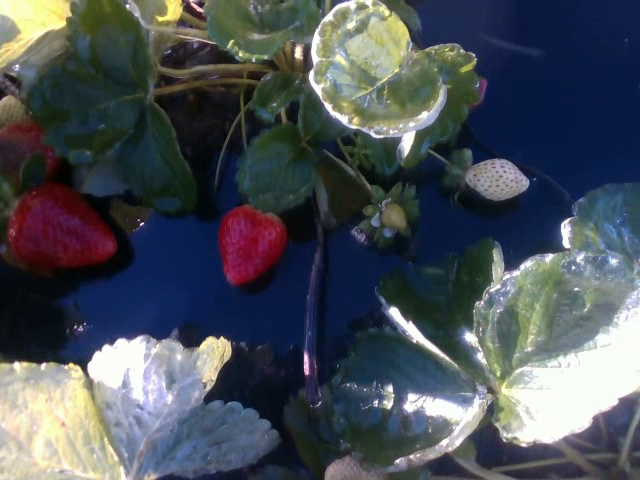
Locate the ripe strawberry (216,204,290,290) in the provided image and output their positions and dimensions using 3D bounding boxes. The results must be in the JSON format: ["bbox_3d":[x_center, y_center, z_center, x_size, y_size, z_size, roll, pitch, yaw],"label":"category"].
[{"bbox_3d":[-0.033,0.004,0.288,0.039,0.047,0.040,16,-13,-4],"label":"ripe strawberry"}]

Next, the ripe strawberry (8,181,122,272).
[{"bbox_3d":[-0.127,-0.003,0.296,0.056,0.044,0.040,27,-2,-3],"label":"ripe strawberry"}]
